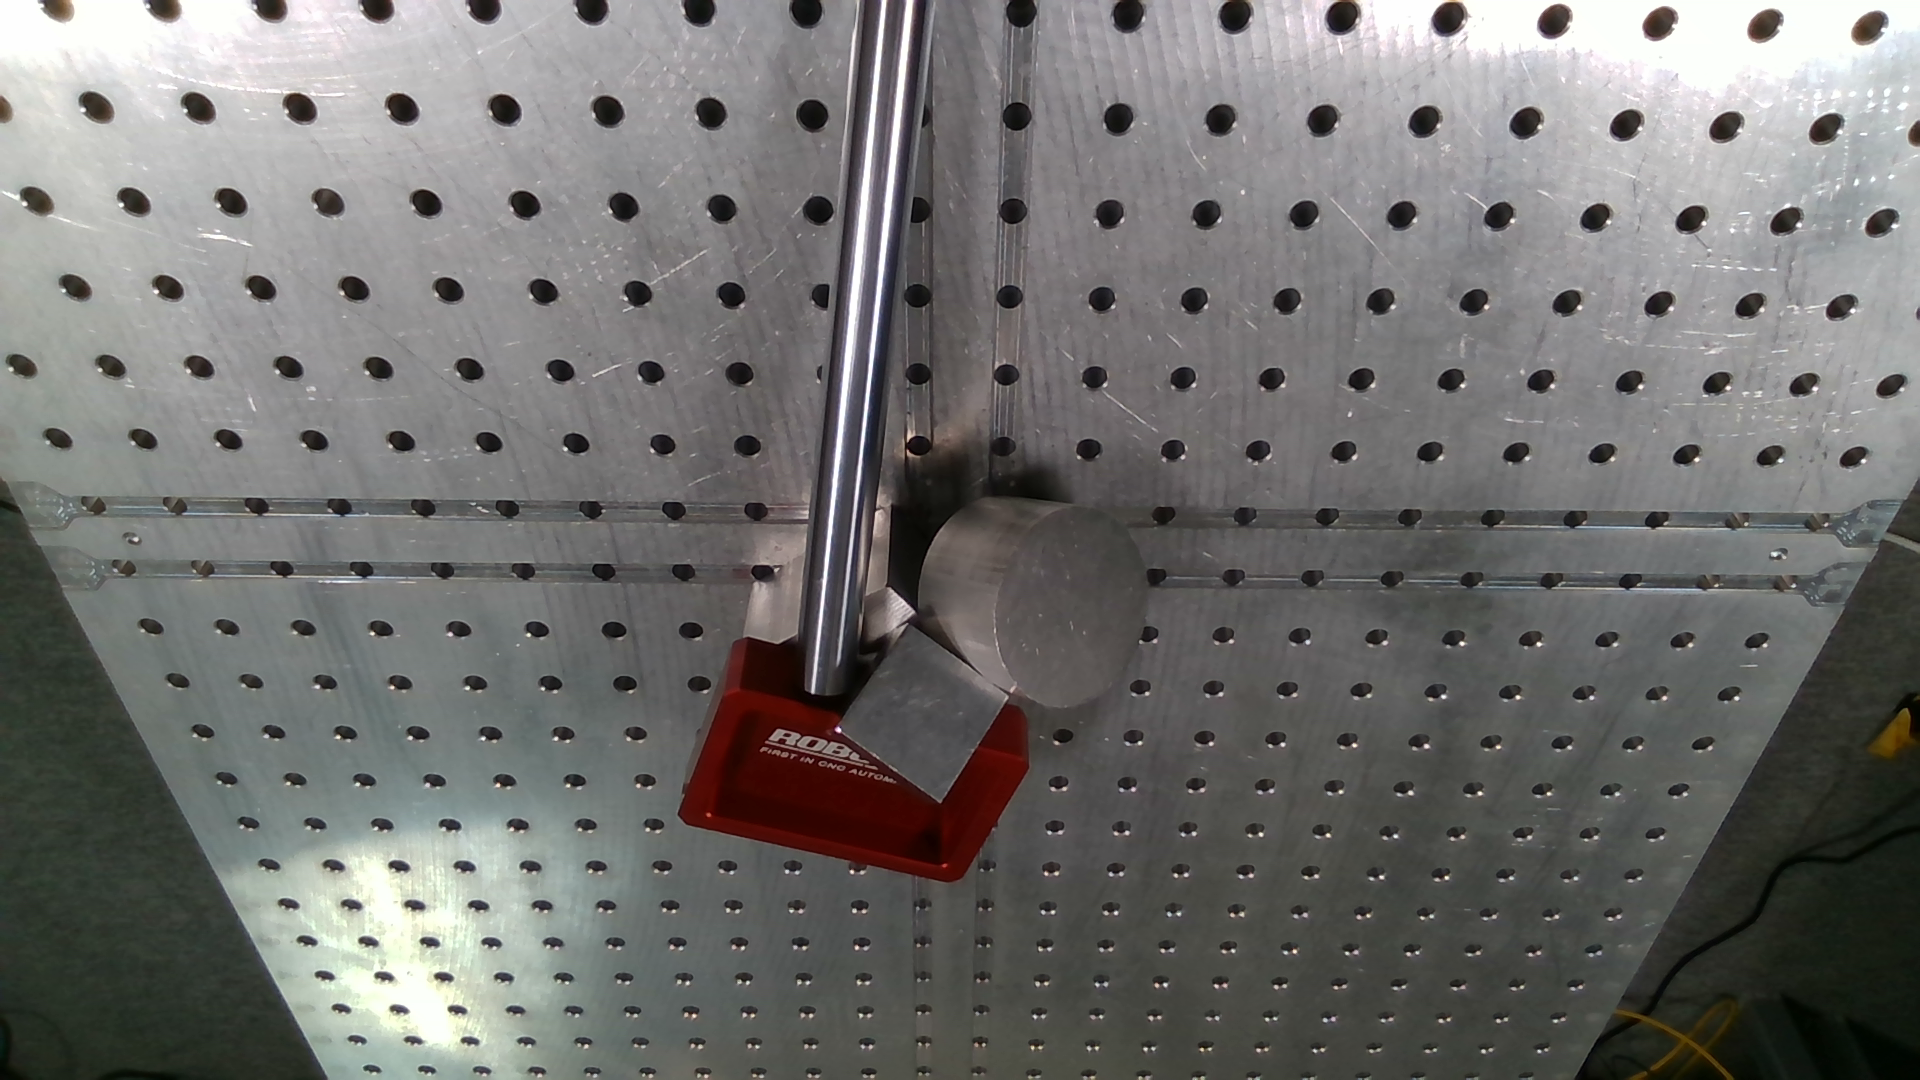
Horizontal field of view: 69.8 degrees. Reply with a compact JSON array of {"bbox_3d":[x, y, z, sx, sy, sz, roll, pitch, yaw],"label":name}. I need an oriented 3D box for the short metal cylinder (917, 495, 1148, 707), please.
[{"bbox_3d":[0.030,0.023,0.558,0.050,0.080,0.080,11,149,52],"label":"short metal cylinder"}]

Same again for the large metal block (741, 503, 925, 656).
[{"bbox_3d":[-0.038,0.043,0.600,0.080,0.050,0.080,-28,124,22],"label":"large metal block"}]

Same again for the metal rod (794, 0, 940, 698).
[{"bbox_3d":[-0.034,-0.074,0.481,0.025,0.025,0.301,6,118,-5],"label":"metal rod"}]

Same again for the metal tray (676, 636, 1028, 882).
[{"bbox_3d":[-0.047,0.097,0.591,0.130,0.030,0.090,16,128,-13],"label":"metal tray"}]

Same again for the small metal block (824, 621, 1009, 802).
[{"bbox_3d":[-0.017,0.068,0.545,0.050,0.050,0.025,37,163,-7],"label":"small metal block"}]
